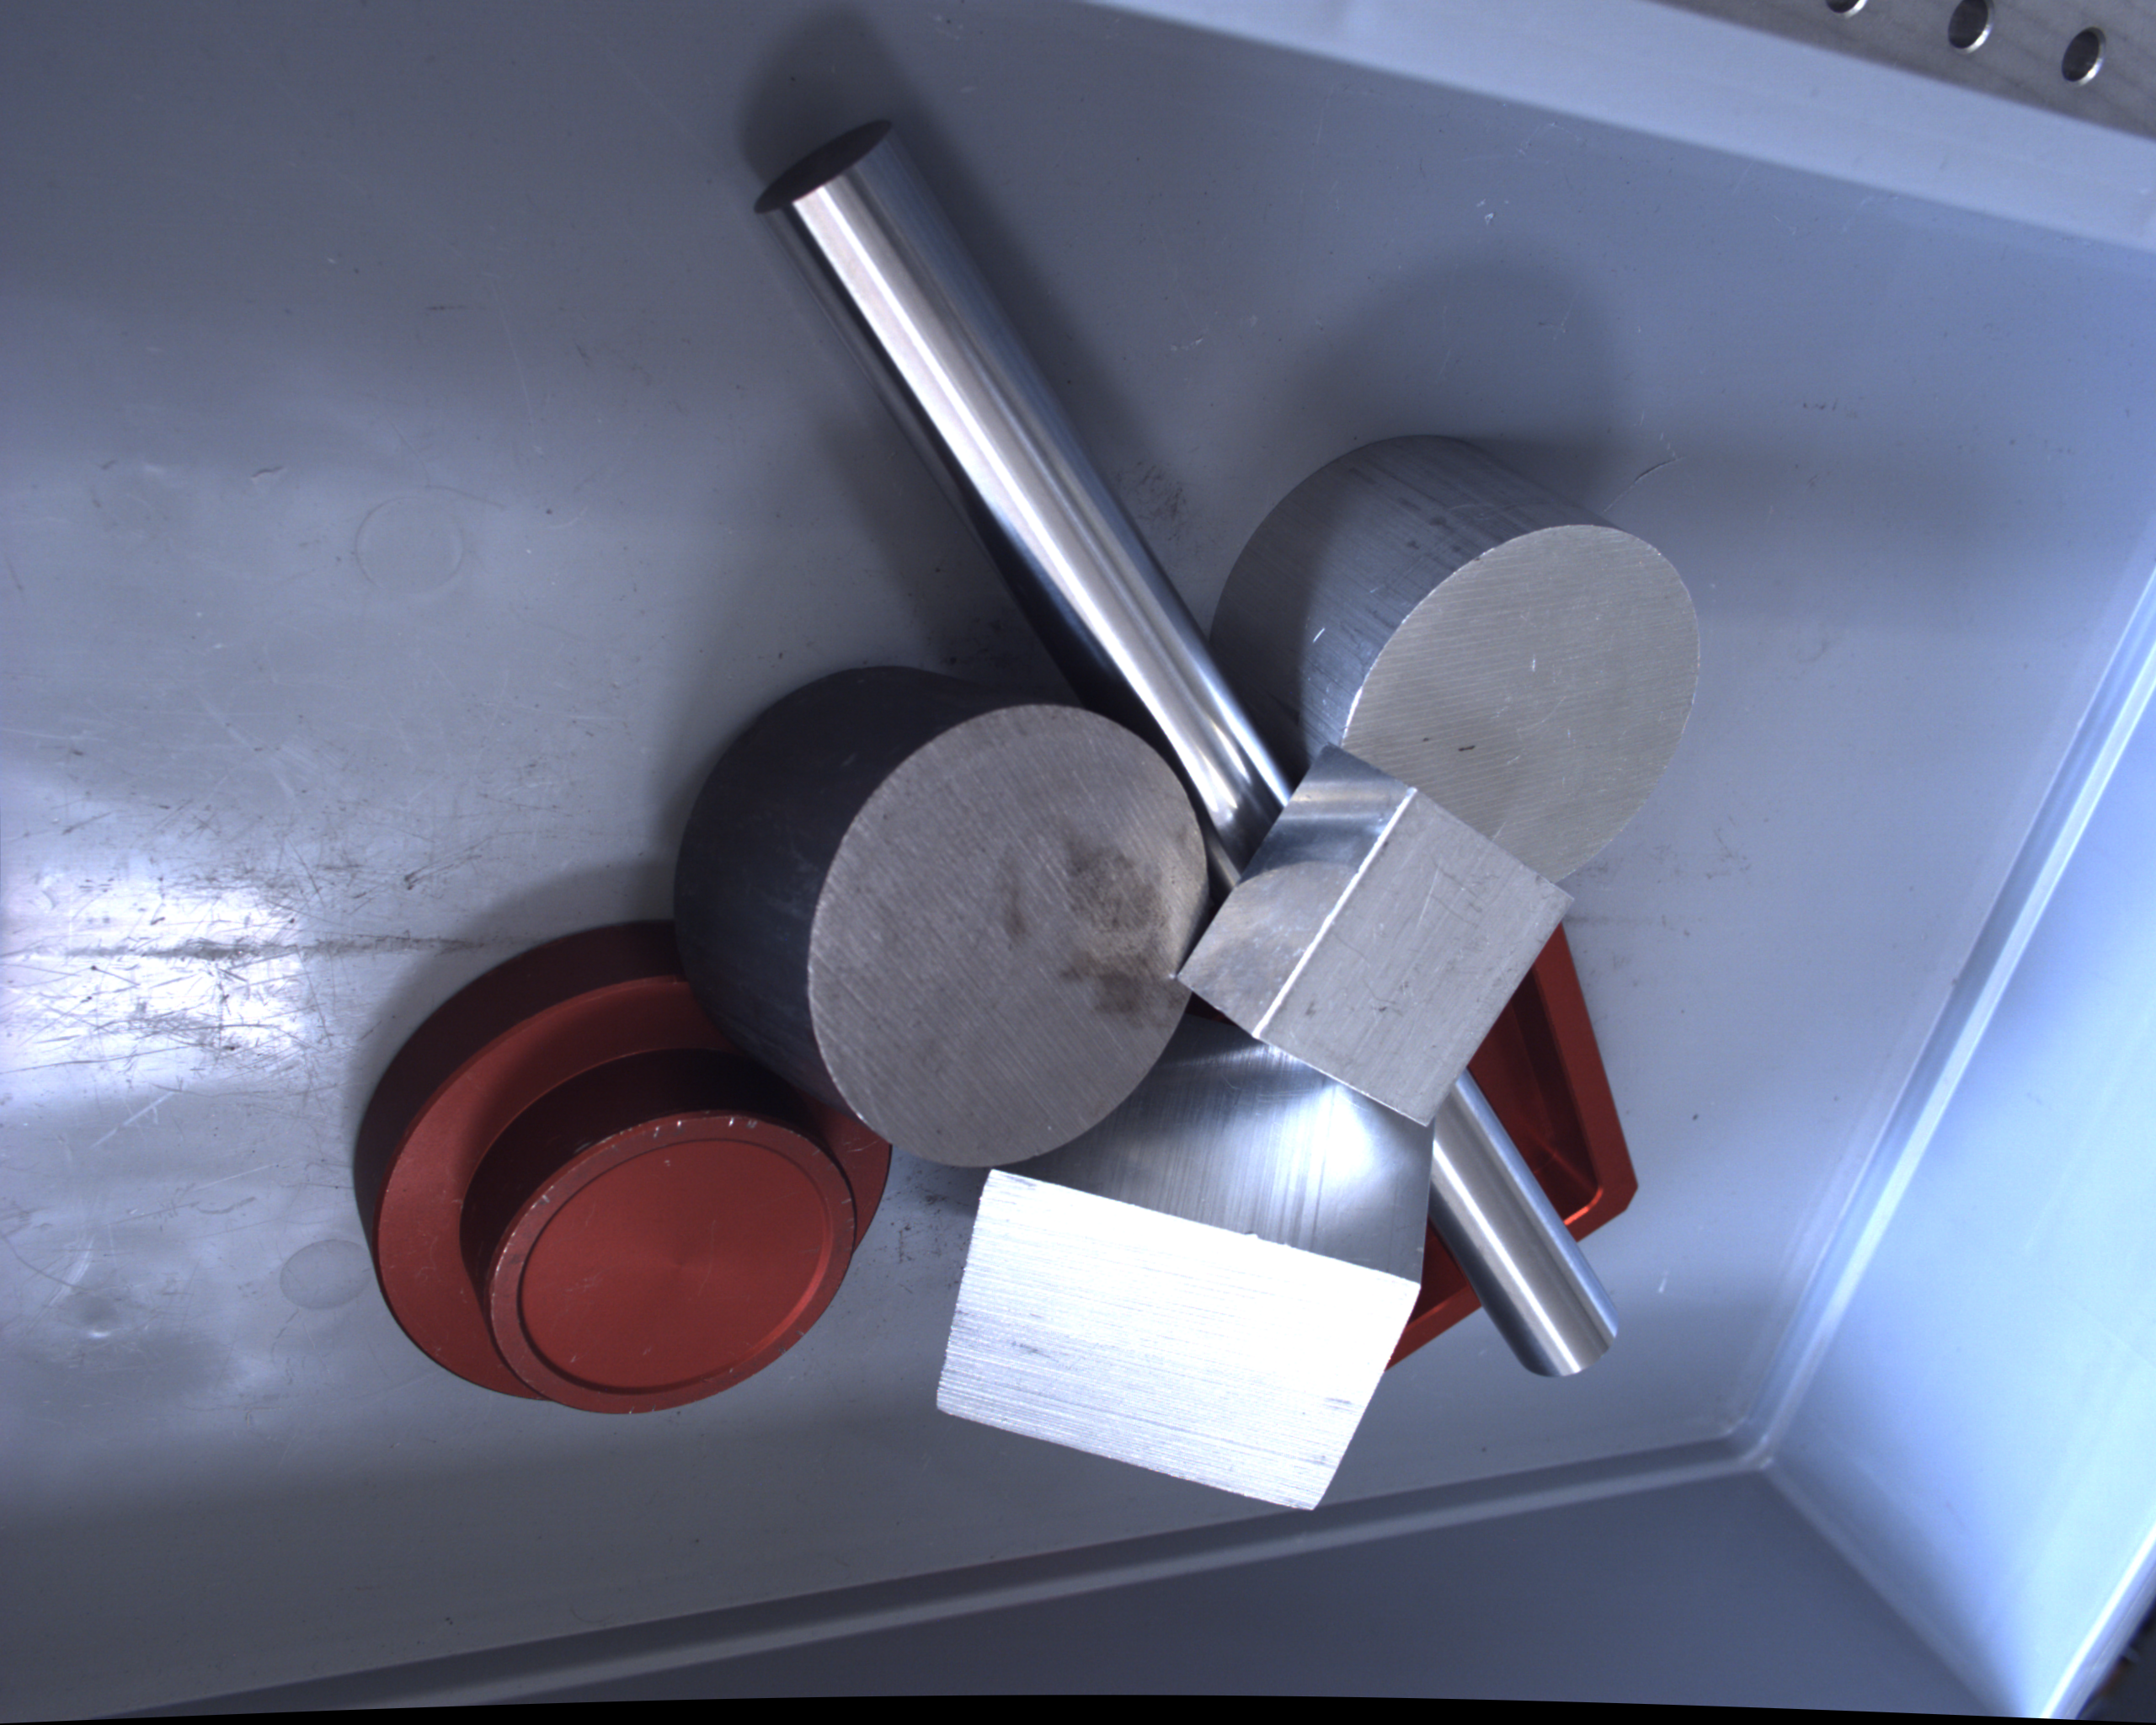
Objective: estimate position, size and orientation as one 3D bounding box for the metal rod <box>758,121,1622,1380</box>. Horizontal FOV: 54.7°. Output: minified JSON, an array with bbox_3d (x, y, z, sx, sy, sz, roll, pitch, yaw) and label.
[{"bbox_3d":[0.036,0.000,0.394,0.025,0.025,0.299,-37,120,-4],"label":"metal rod"}]

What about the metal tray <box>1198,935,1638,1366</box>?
[{"bbox_3d":[0.072,0.054,0.476,0.090,0.030,0.130,-32,129,-8],"label":"metal tray"}]

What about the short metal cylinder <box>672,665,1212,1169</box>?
[{"bbox_3d":[-0.024,0.008,0.368,0.081,0.050,0.079,-10,108,-34],"label":"short metal cylinder"}]

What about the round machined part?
[{"bbox_3d":[-0.080,0.064,0.390,0.099,0.042,0.097,-14,124,-21],"label":"round machined part"}]

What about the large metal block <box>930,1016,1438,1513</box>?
[{"bbox_3d":[0.020,0.077,0.415,0.080,0.050,0.079,14,132,1],"label":"large metal block"}]

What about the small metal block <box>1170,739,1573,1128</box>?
[{"bbox_3d":[0.053,0.013,0.376,0.050,0.025,0.050,30,94,-38],"label":"small metal block"}]

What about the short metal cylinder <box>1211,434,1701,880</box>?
[{"bbox_3d":[0.073,-0.037,0.408,0.081,0.050,0.079,-14,124,-21],"label":"short metal cylinder"}]
